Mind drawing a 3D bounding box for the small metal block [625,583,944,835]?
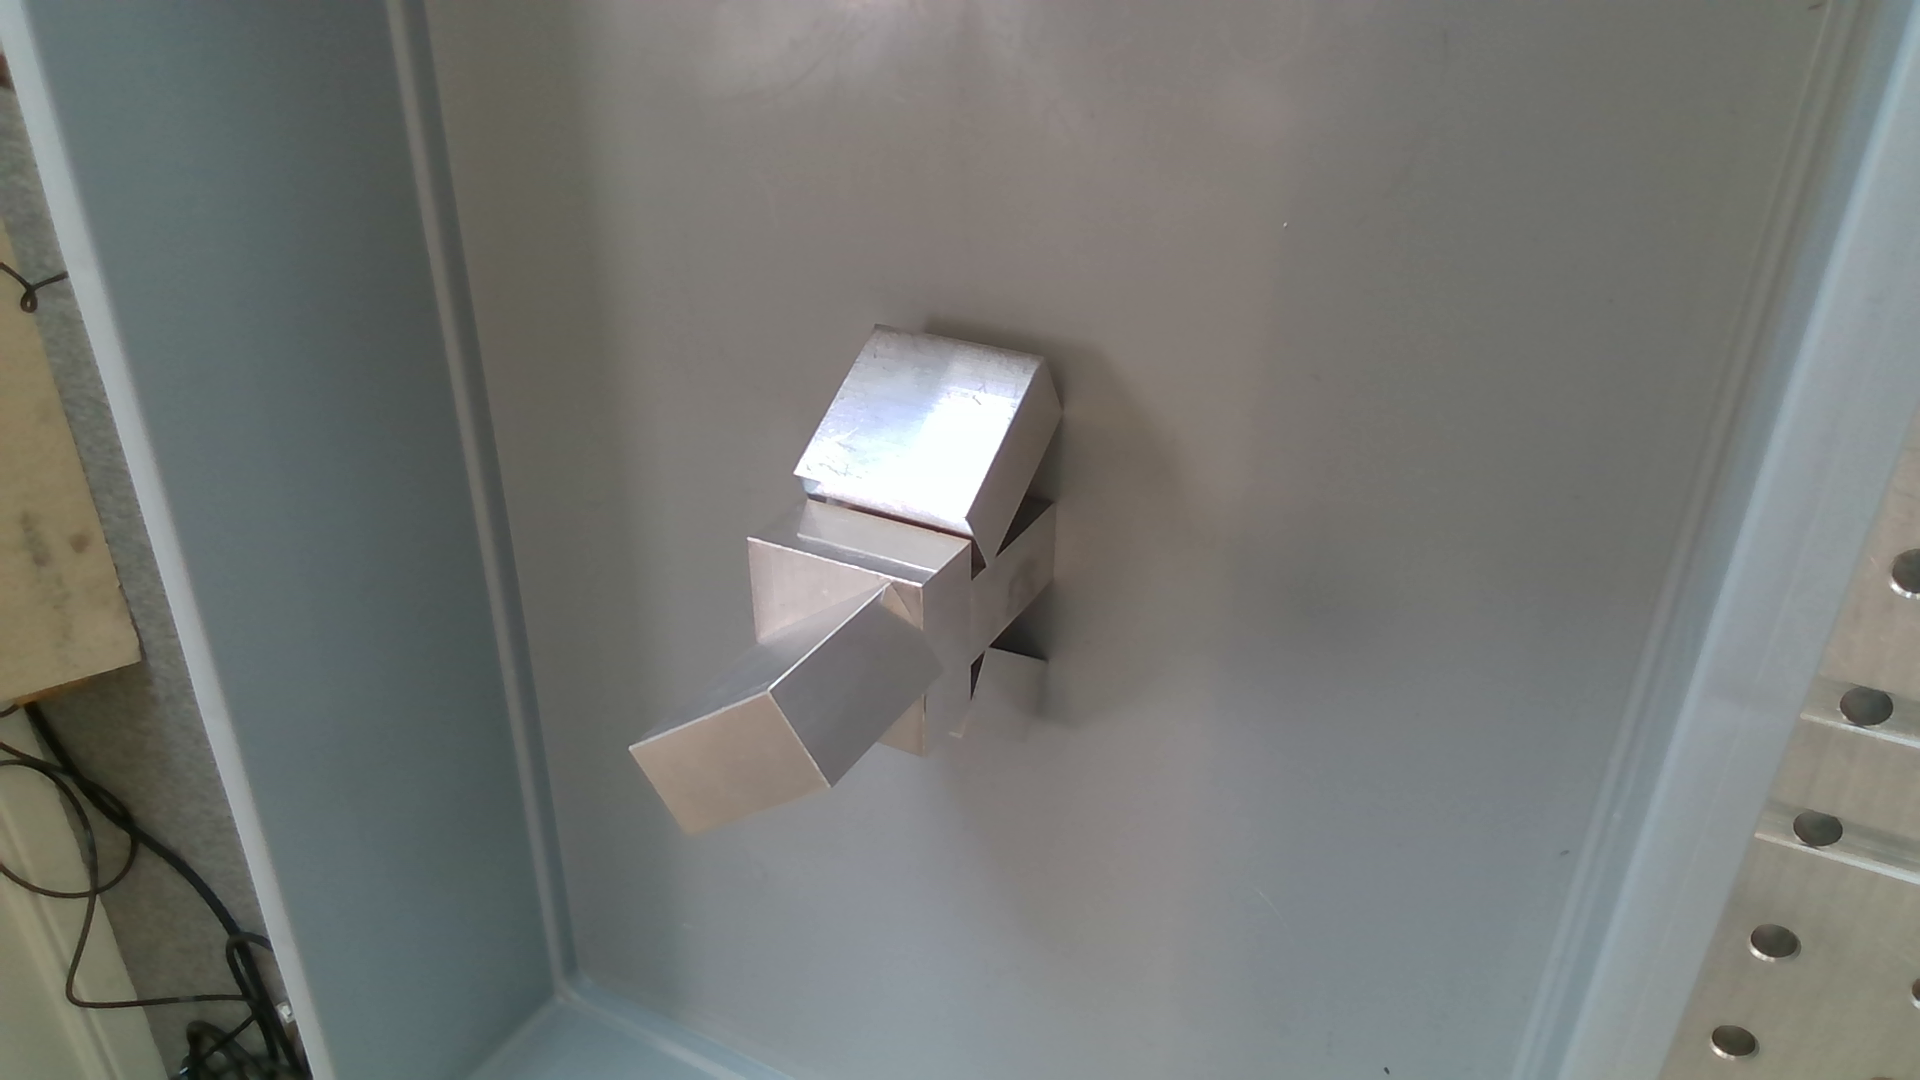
[{"bbox_3d":[-0.040,0.039,0.319,0.050,0.050,0.025,-24,100,38],"label":"small metal block"}]

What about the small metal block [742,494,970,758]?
[{"bbox_3d":[-0.026,0.021,0.349,0.050,0.025,0.050,15,122,24],"label":"small metal block"}]

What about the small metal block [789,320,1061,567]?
[{"bbox_3d":[-0.008,-0.026,0.358,0.050,0.050,0.025,15,155,24],"label":"small metal block"}]

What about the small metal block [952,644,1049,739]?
[{"bbox_3d":[-0.009,0.037,0.394,0.050,0.050,0.025,15,88,24],"label":"small metal block"}]

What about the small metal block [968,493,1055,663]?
[{"bbox_3d":[-0.008,0.004,0.378,0.050,0.050,0.025,15,122,24],"label":"small metal block"}]
